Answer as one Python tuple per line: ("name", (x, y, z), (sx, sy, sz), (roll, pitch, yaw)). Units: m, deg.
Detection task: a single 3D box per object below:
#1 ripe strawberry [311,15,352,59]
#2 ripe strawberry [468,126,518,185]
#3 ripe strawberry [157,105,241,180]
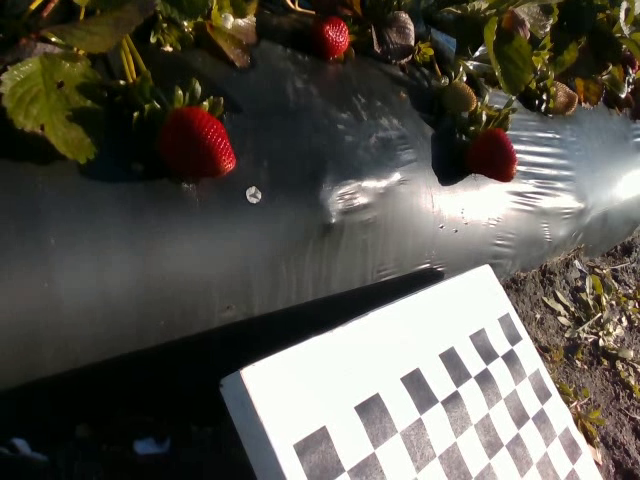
("ripe strawberry", (0.007, -0.157, 0.453), (0.035, 0.035, 0.046), (-32, -12, 30))
("ripe strawberry", (0.141, -0.066, 0.485), (0.042, 0.059, 0.042), (18, -49, -42))
("ripe strawberry", (-0.062, -0.048, 0.314), (0.055, 0.042, 0.045), (41, 24, 33))
